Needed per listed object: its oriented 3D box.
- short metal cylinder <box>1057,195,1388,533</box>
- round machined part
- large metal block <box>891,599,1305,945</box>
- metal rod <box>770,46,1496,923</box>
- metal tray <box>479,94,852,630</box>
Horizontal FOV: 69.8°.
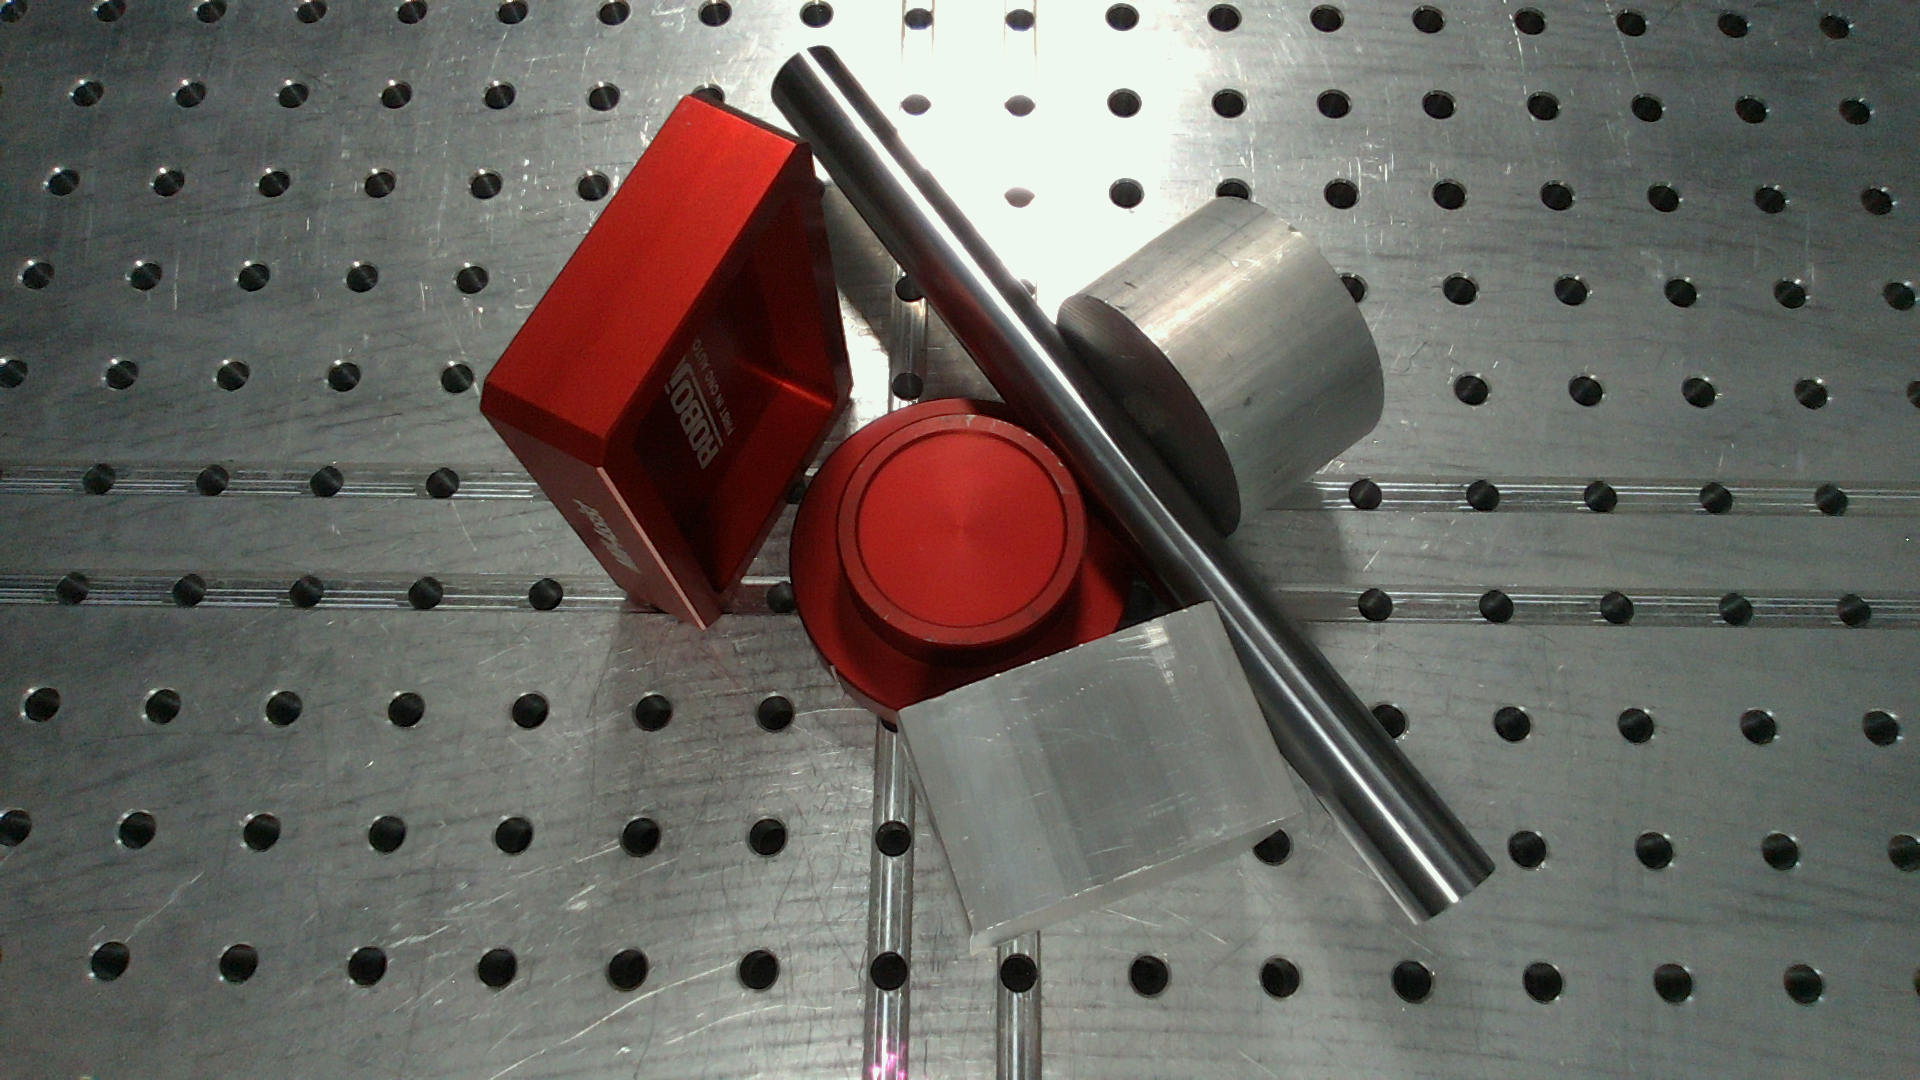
[{"bbox_3d":[0.071,-0.048,0.384,0.050,0.080,0.080,-35,74,-12],"label":"short metal cylinder"},{"bbox_3d":[0.000,0.004,0.386,0.098,0.042,0.098,0,70,0],"label":"round machined part"},{"bbox_3d":[0.031,0.062,0.345,0.080,0.080,0.050,-18,71,-6],"label":"large metal block"},{"bbox_3d":[0.038,-0.028,0.385,0.025,0.025,0.300,-33,73,-11],"label":"metal rod"},{"bbox_3d":[-0.067,-0.038,0.355,0.030,0.130,0.090,26,72,9],"label":"metal tray"}]
